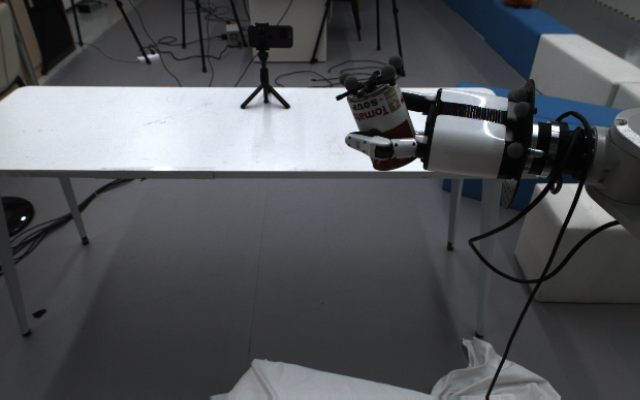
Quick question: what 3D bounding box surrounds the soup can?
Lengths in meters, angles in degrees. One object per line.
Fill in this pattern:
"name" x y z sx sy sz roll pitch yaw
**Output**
"soup can" 0.084 -0.099 0.622 0.067 0.101 0.067 -22 24 10
